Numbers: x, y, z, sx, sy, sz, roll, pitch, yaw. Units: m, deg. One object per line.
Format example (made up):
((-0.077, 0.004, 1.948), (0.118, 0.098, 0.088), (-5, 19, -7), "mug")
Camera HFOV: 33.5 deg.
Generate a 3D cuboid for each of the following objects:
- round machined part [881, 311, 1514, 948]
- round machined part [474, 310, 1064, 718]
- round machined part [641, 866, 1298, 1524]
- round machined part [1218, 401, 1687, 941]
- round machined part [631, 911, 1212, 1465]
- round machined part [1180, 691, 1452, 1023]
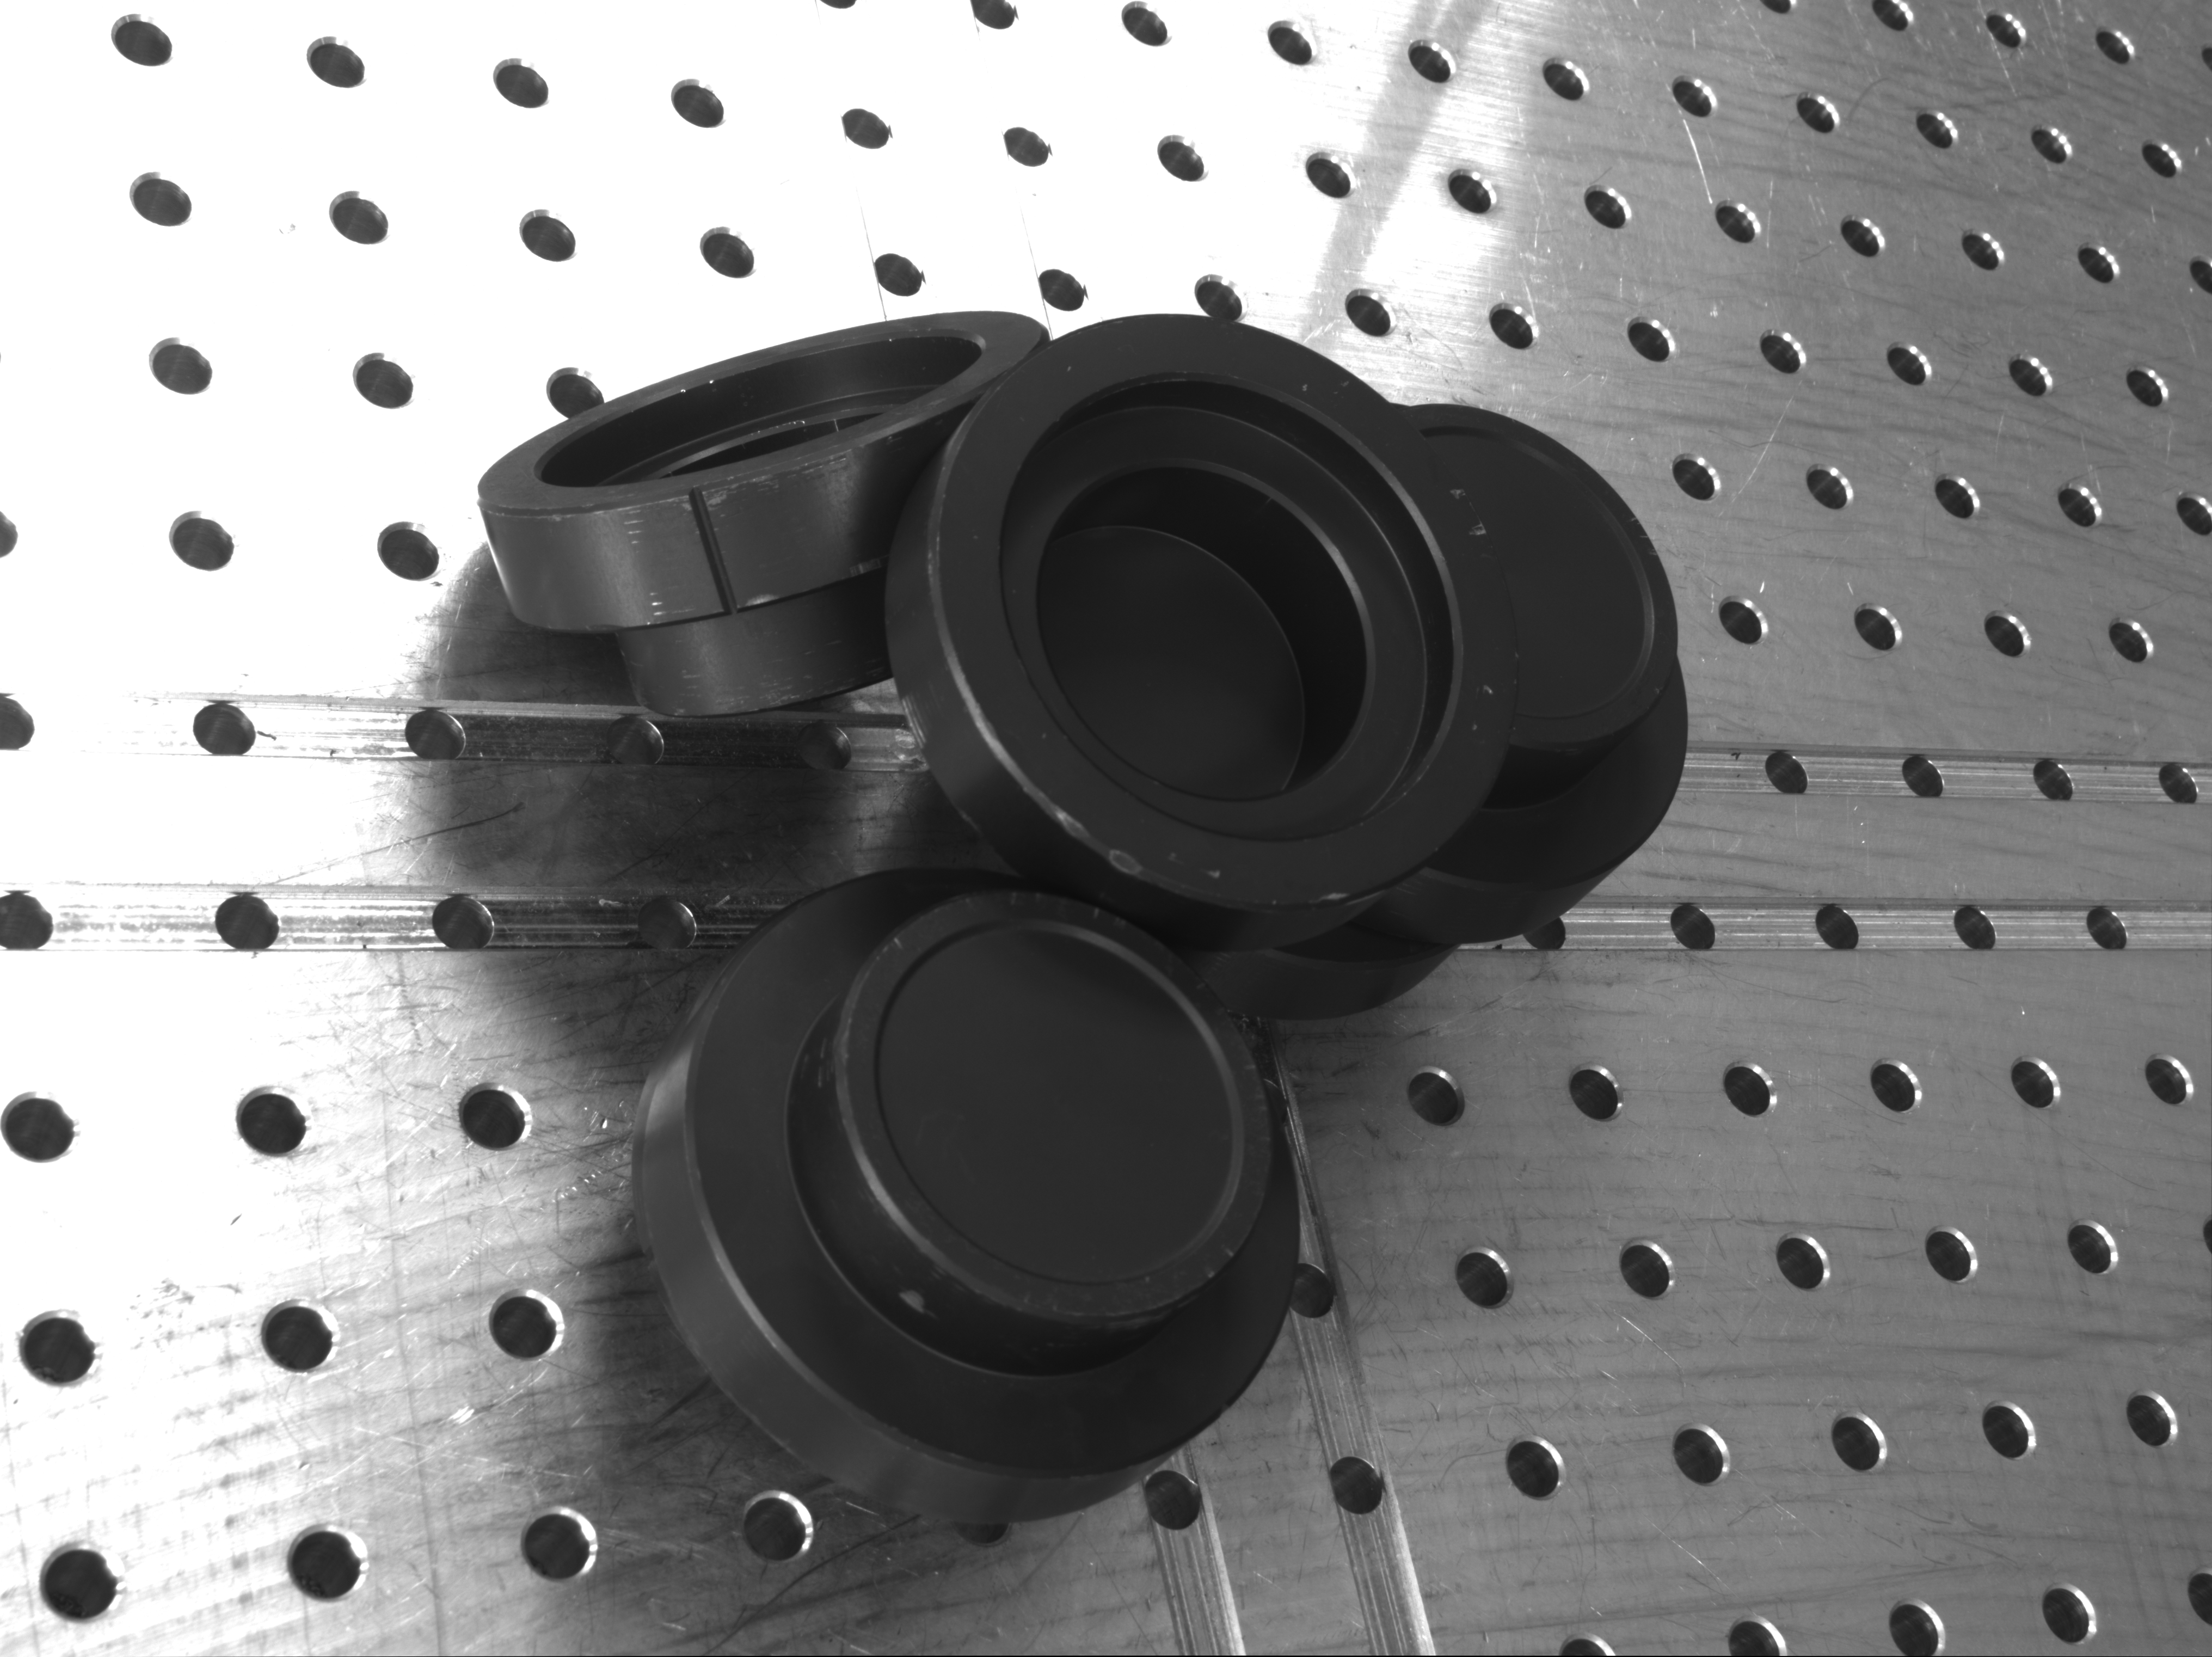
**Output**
((0.011, -0.027, 0.572), (0.098, 0.042, 0.098), (9, 66, -21), "round machined part")
((-0.052, -0.051, 0.610), (0.098, 0.098, 0.042), (-31, 114, -38), "round machined part")
((-0.015, 0.048, 0.539), (0.098, 0.042, 0.098), (13, 56, -21), "round machined part")
((0.058, -0.033, 0.627), (0.098, 0.042, 0.098), (14, 55, -20), "round machined part")
((-0.020, 0.050, 0.563), (0.098, 0.042, 0.098), (13, 56, -21), "round machined part")
((0.030, -0.019, 0.633), (0.098, 0.042, 0.098), (13, 56, -21), "round machined part")
